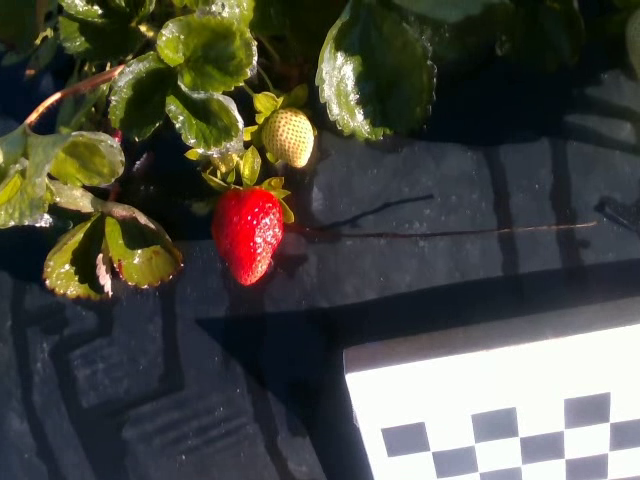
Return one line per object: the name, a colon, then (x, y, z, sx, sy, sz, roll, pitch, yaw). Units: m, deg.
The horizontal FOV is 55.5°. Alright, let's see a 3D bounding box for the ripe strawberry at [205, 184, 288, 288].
ripe strawberry: (-0.026, 0.002, 0.232, 0.039, 0.039, 0.040, -14, -33, 20)
